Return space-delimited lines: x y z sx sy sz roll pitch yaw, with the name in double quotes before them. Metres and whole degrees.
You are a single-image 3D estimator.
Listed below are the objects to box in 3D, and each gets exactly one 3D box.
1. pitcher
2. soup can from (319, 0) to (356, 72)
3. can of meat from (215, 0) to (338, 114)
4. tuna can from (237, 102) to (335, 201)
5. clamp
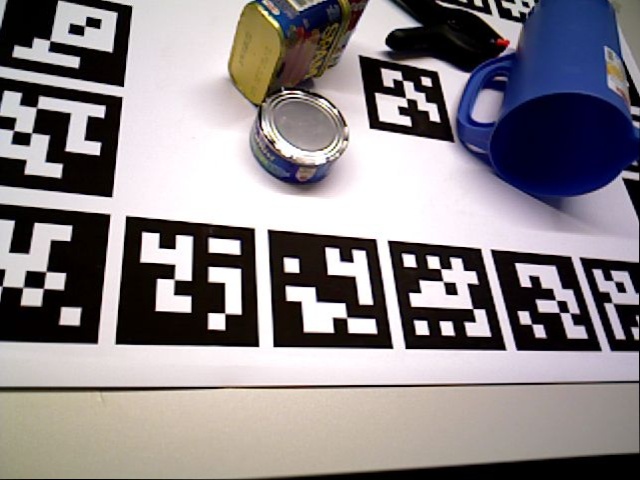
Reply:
"pitcher" 0.256 -0.163 0.586 0.189 0.136 0.237 12 51 10
"soup can" -0.006 -0.226 0.539 0.067 0.104 0.067 7 64 -16
"can of meat" -0.043 -0.170 0.492 0.082 0.104 0.058 -33 81 -28
"tuna can" -0.032 -0.080 0.496 0.085 0.034 0.085 8 64 -18
"clamp" 0.121 -0.245 0.648 0.163 0.037 0.120 9 58 -21
